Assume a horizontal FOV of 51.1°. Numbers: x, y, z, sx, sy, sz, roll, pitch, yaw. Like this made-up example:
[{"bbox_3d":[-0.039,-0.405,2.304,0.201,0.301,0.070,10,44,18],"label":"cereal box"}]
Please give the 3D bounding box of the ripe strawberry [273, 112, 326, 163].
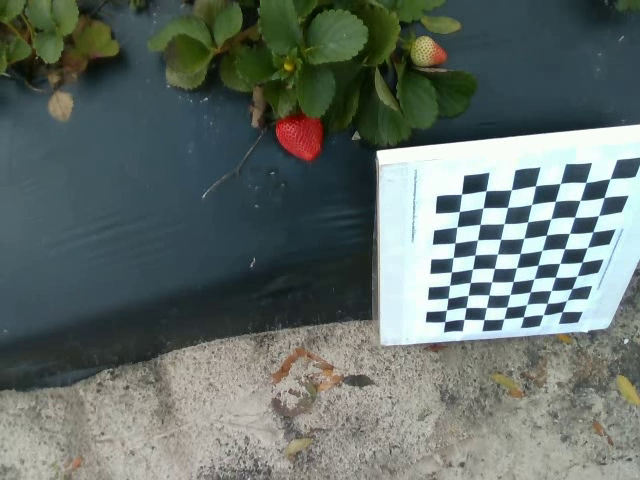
[{"bbox_3d":[-0.016,-0.078,0.499,0.037,0.046,0.036,-35,-13,36],"label":"ripe strawberry"}]
